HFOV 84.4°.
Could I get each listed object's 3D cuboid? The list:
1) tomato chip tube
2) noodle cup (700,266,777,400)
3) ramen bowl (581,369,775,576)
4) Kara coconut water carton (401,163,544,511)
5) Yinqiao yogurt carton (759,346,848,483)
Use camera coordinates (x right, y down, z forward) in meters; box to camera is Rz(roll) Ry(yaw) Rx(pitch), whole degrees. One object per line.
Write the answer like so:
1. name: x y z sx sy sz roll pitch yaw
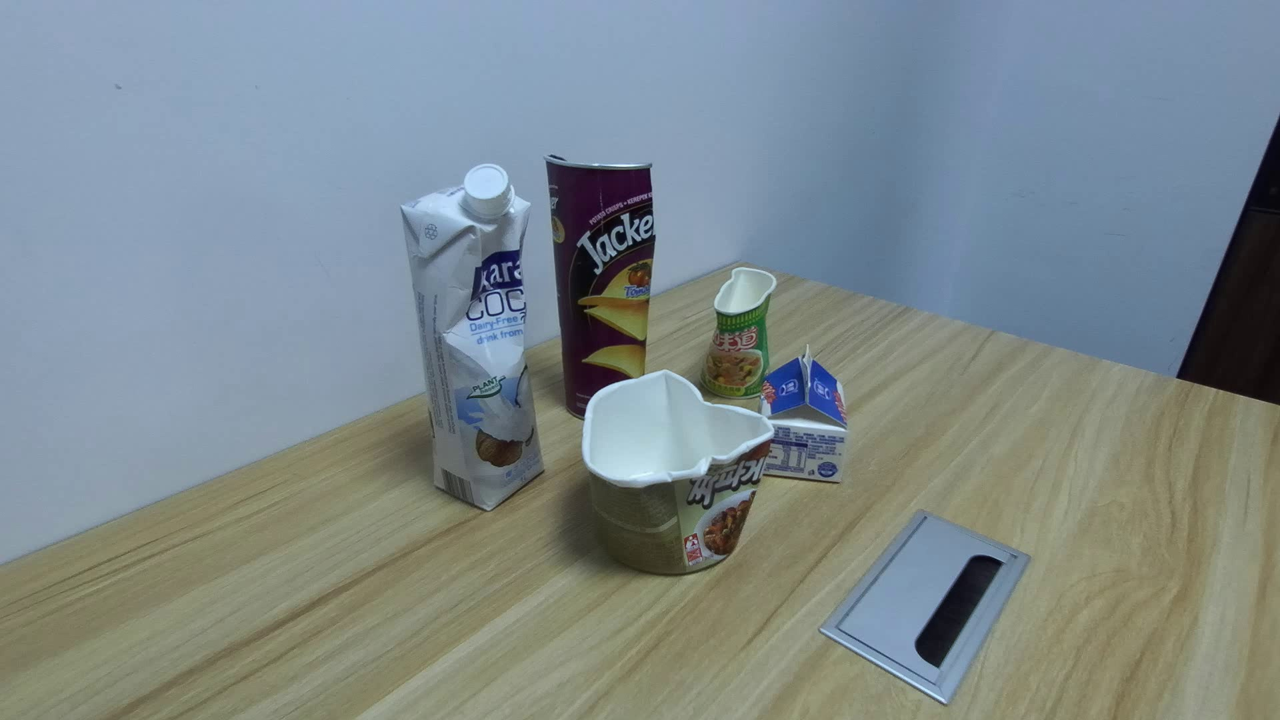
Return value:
1. tomato chip tube: -0.033 -0.062 0.642 0.076 0.235 0.077 -11 26 -23
2. noodle cup: 0.097 -0.024 0.700 0.070 0.111 0.115 21 34 33
3. ramen bowl: 0.014 0.083 0.501 0.113 0.097 0.134 26 35 37
4. Kara coconut water carton: -0.121 -0.015 0.525 0.083 0.255 0.078 -23 35 -39
5. Yinqiao yogurt carton: 0.137 0.042 0.593 0.073 0.092 0.075 5 28 9
